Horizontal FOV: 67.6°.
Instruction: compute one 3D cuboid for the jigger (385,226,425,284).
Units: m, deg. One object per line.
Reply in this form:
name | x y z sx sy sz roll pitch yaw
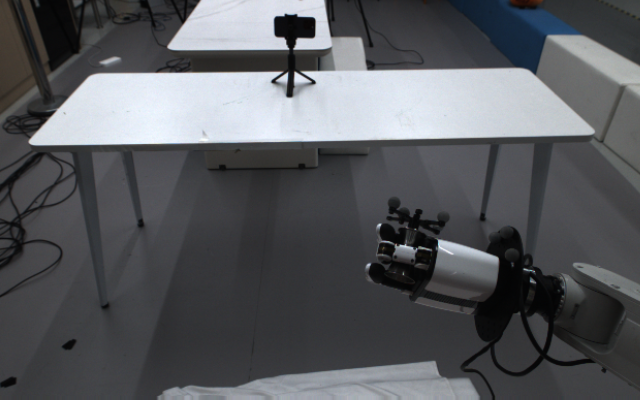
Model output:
jigger | 0.121 0.075 0.668 0.043 0.043 0.071 13 72 15
